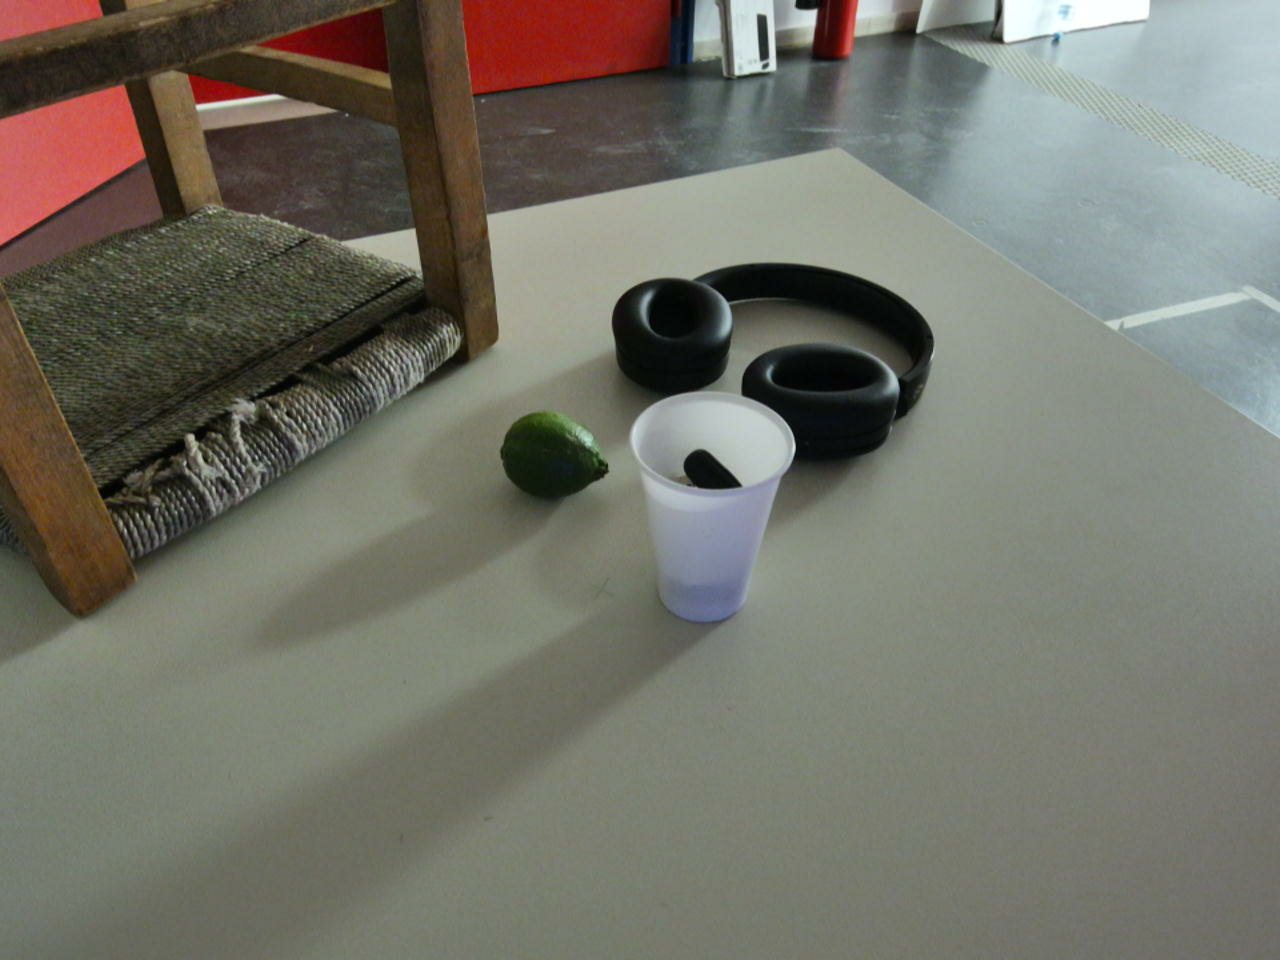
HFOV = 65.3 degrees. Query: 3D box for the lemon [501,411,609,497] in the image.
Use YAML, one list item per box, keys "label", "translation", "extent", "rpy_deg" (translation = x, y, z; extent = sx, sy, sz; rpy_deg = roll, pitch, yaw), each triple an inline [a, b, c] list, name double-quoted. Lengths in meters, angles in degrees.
- label: "lemon"
  translation: [-0.053, -0.016, 0.590]
  extent: [0.057, 0.051, 0.054]
  rpy_deg: [-19, 43, -22]
